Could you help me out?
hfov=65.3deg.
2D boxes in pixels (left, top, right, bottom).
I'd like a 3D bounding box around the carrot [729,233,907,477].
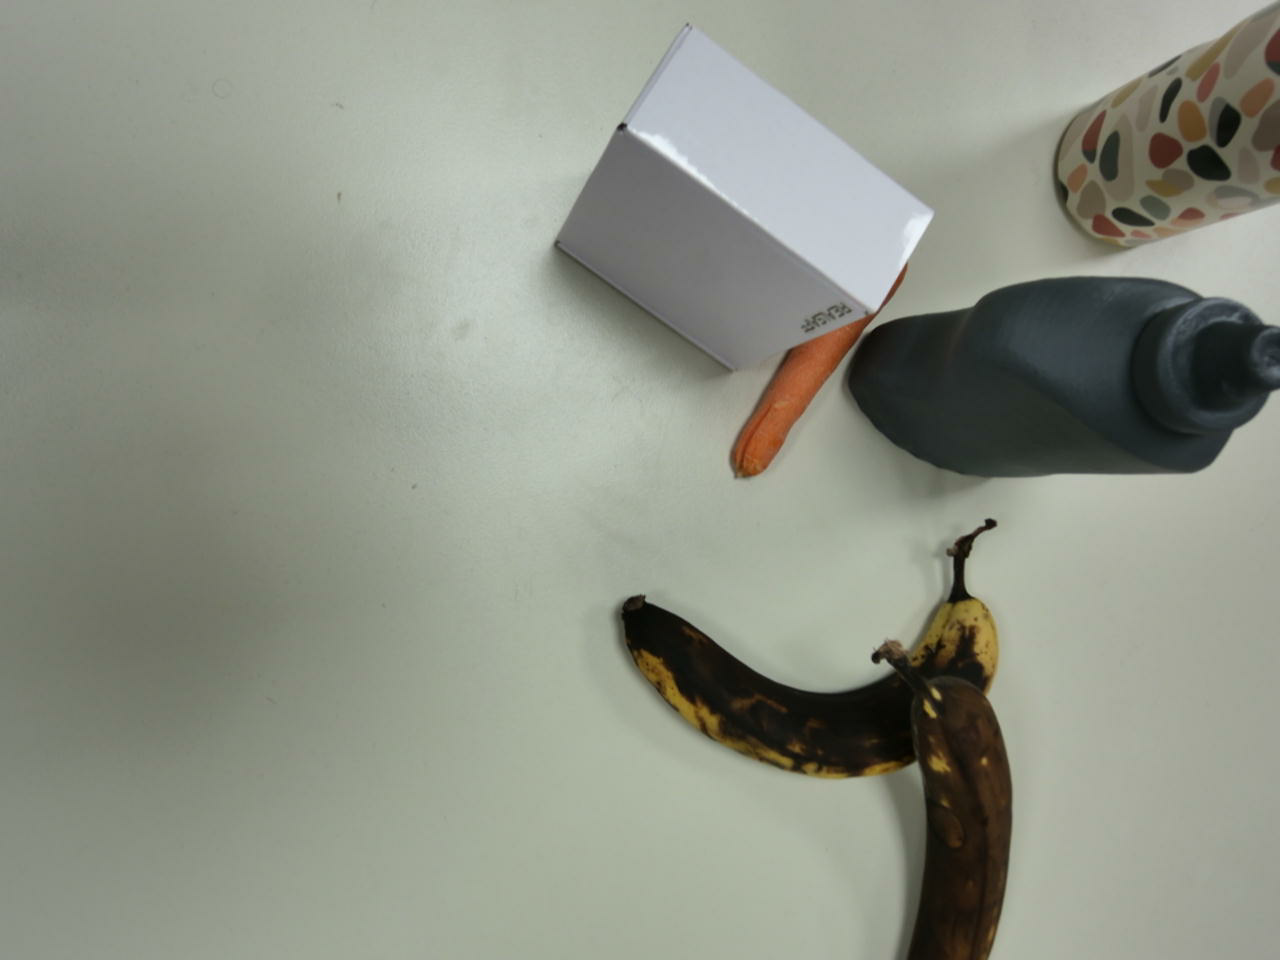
[{"bbox_3d":[0.082,-0.059,0.466,0.030,0.032,0.136,35,83,-10],"label":"carrot"}]
